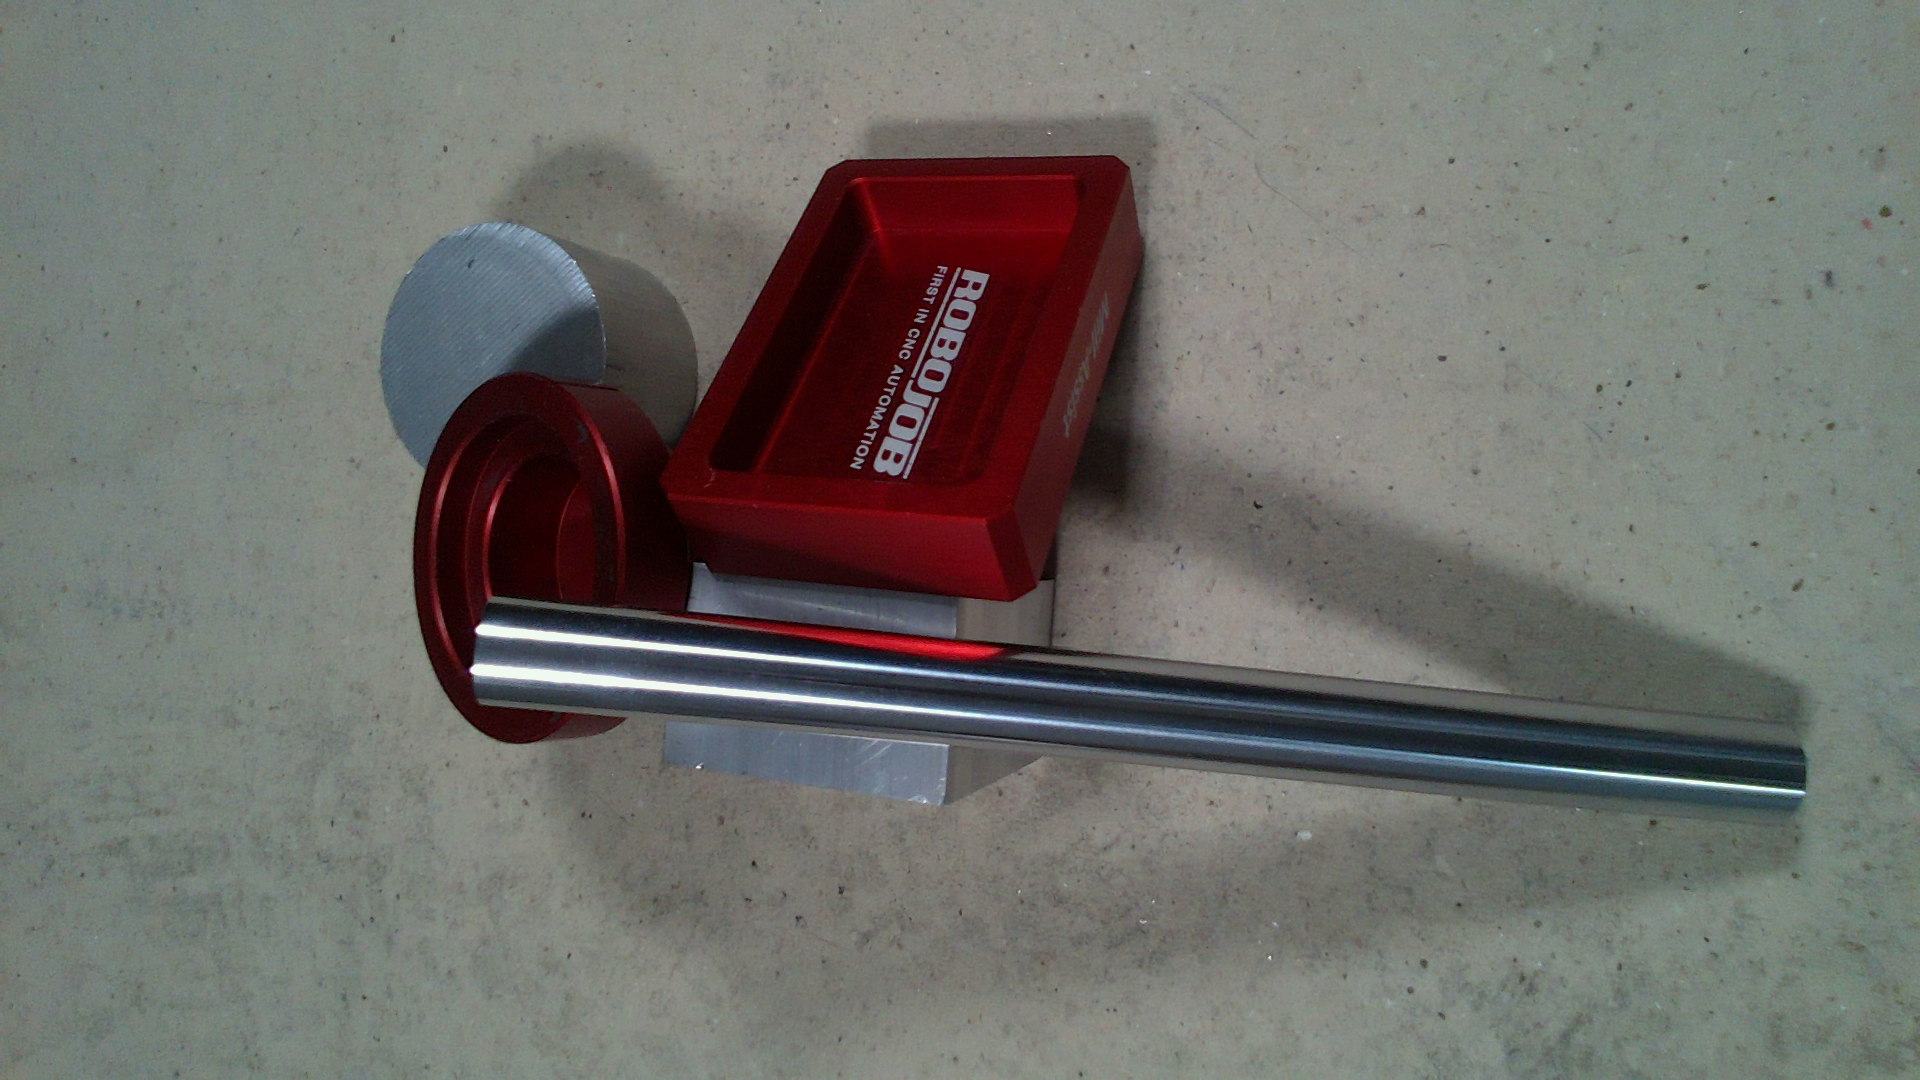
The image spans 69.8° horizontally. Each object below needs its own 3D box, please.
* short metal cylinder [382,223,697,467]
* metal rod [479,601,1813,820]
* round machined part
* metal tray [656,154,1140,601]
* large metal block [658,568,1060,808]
[{"bbox_3d":[-0.130,-0.054,0.430,0.080,0.050,0.080,0,90,20],"label":"short metal cylinder"},{"bbox_3d":[0.046,0.040,0.317,0.300,0.025,0.025,5,92,-4],"label":"metal rod"},{"bbox_3d":[-0.106,0.005,0.378,0.098,0.042,0.098,-1,88,40],"label":"round machined part"},{"bbox_3d":[-0.011,-0.048,0.357,0.090,0.030,0.130,5,52,20],"label":"metal tray"},{"bbox_3d":[-0.024,0.035,0.375,0.080,0.080,0.050,5,92,20],"label":"large metal block"}]
